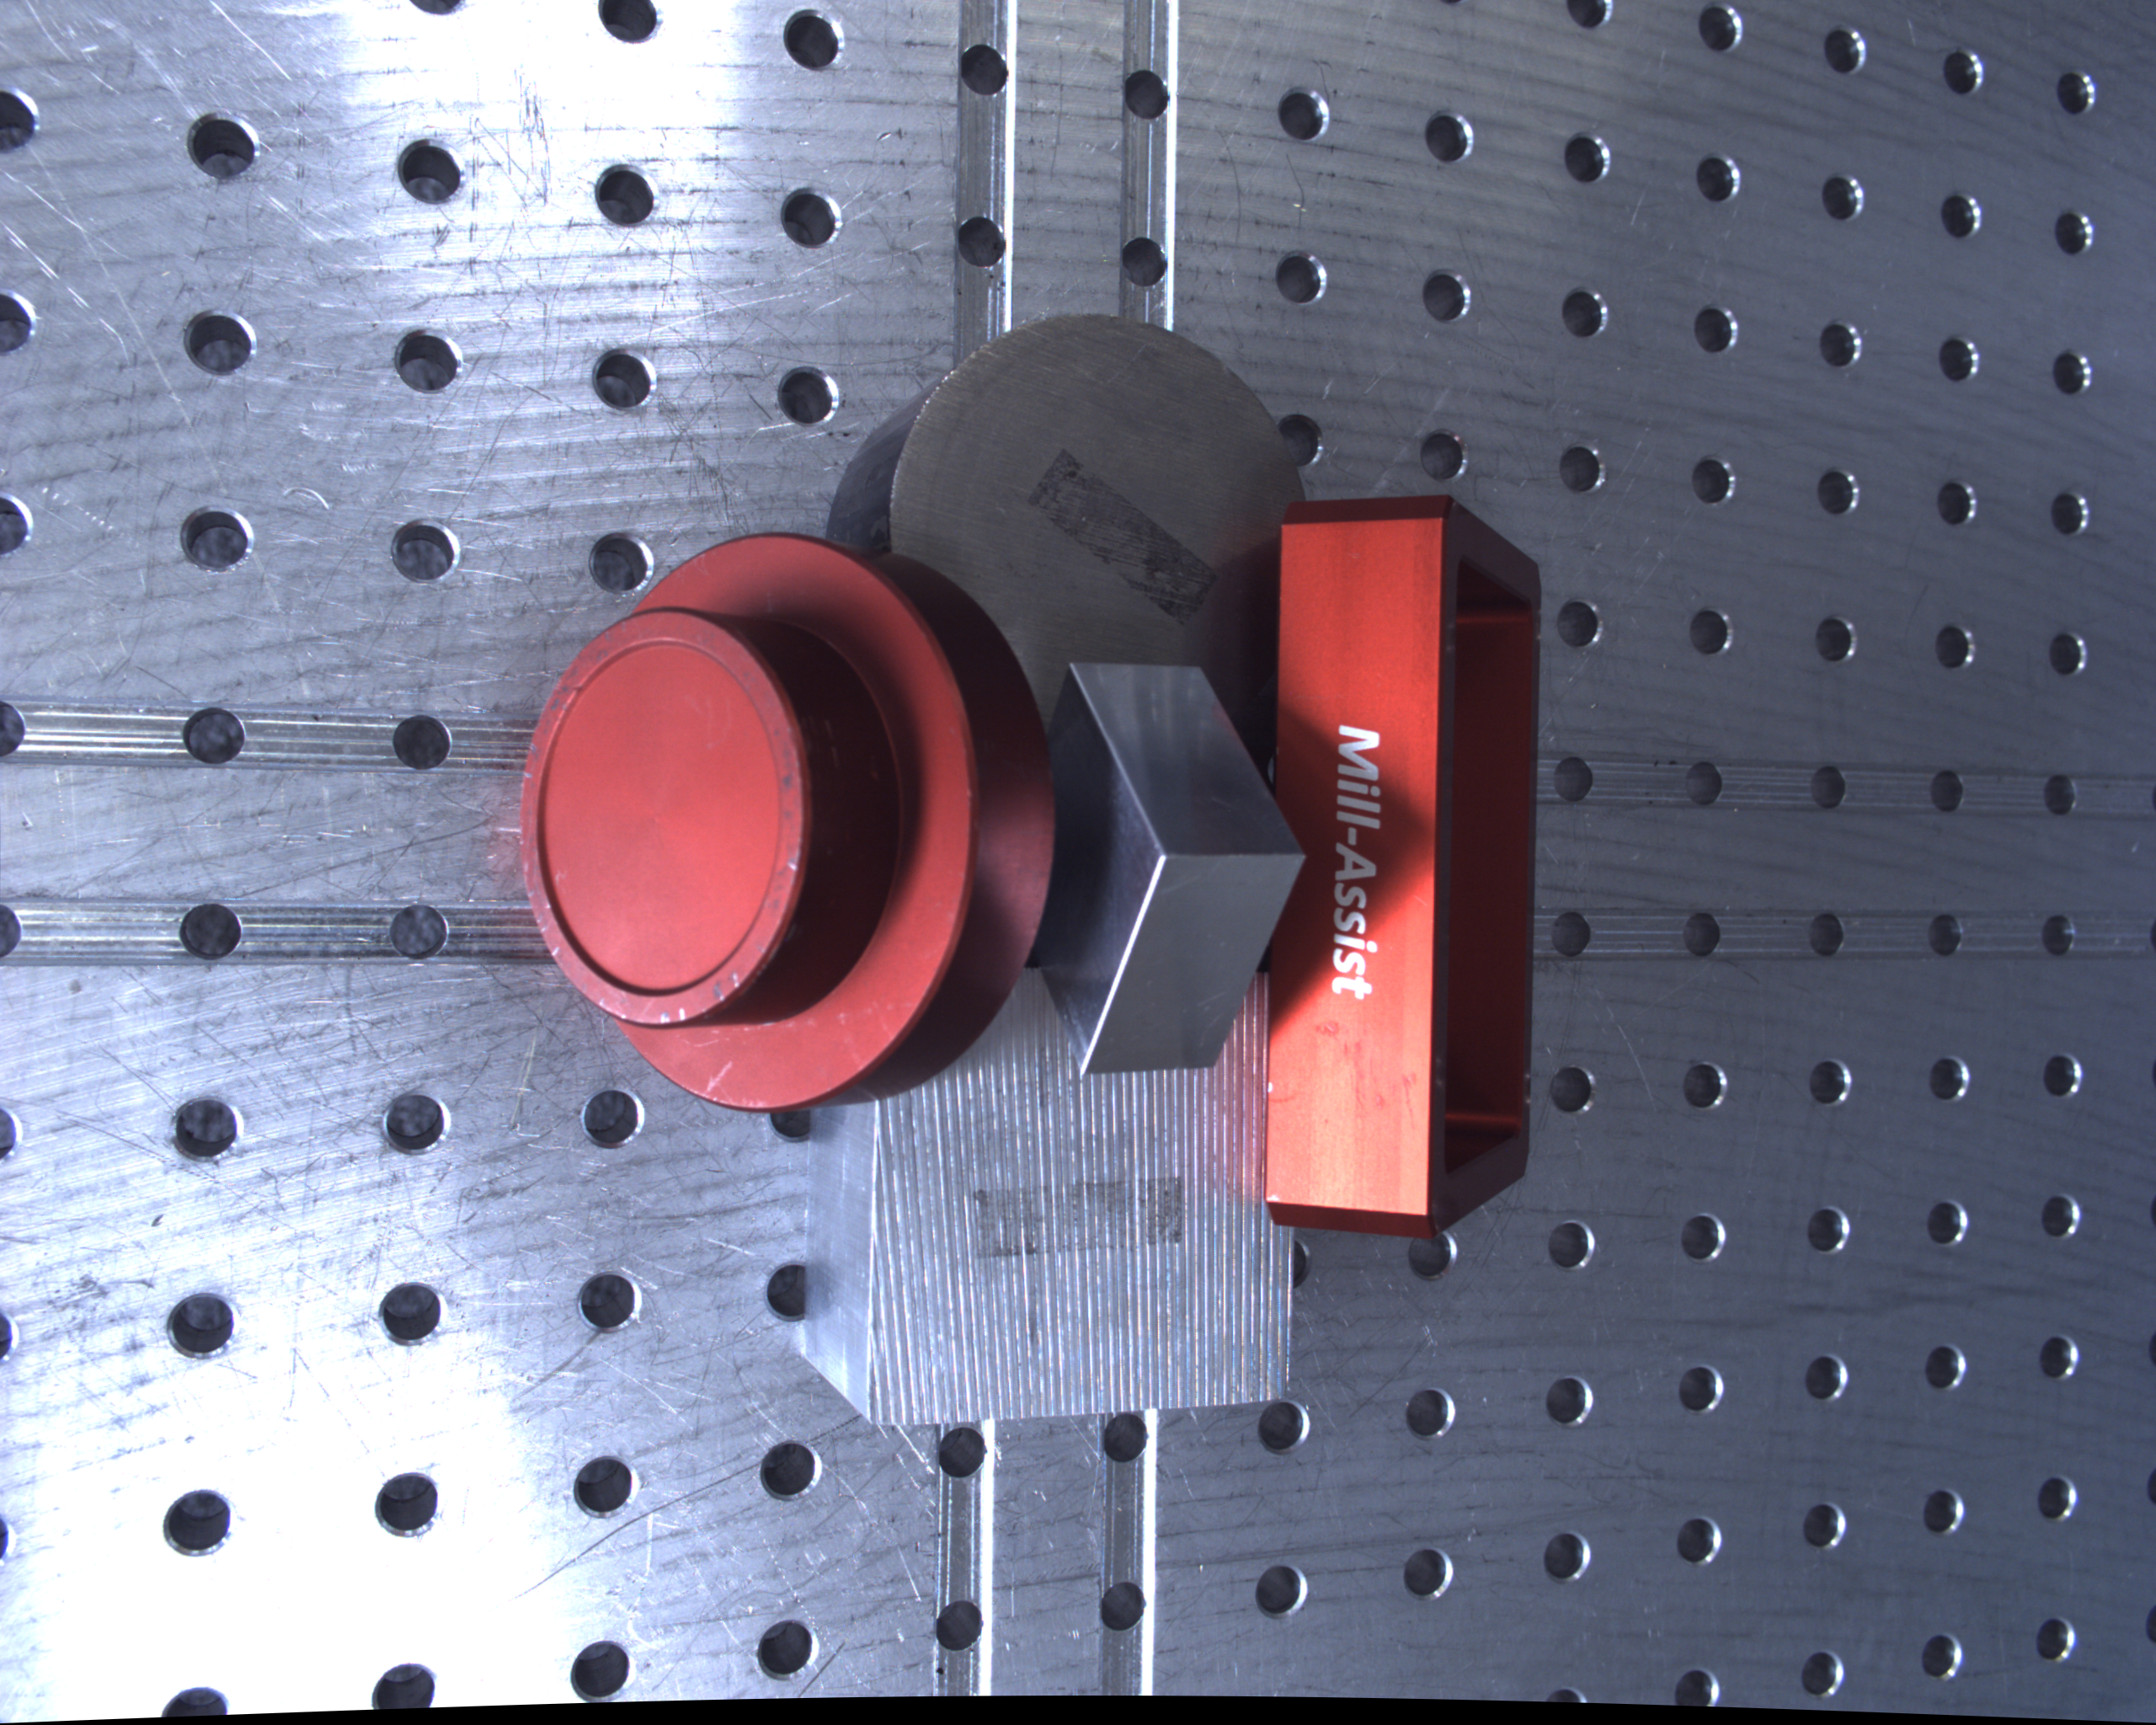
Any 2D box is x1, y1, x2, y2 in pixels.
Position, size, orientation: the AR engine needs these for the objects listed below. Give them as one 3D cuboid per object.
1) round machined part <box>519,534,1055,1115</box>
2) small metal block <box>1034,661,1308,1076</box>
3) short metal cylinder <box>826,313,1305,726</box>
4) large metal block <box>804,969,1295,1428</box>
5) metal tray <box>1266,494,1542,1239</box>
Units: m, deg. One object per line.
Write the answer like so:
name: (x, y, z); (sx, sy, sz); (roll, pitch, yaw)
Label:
round machined part: (-0.055, -0.006, 0.349); (0.042, 0.098, 0.097); (2, 89, -53)
small metal block: (0.011, 0.001, 0.358); (0.025, 0.050, 0.050); (0, 132, -23)
short metal cylinder: (-0.003, -0.059, 0.397); (0.081, 0.050, 0.080); (0, 90, -20)
large metal block: (-0.006, 0.059, 0.397); (0.081, 0.050, 0.080); (2, 89, -20)
metal tray: (0.066, 0.001, 0.404); (0.030, 0.090, 0.129); (1, 90, 23)
